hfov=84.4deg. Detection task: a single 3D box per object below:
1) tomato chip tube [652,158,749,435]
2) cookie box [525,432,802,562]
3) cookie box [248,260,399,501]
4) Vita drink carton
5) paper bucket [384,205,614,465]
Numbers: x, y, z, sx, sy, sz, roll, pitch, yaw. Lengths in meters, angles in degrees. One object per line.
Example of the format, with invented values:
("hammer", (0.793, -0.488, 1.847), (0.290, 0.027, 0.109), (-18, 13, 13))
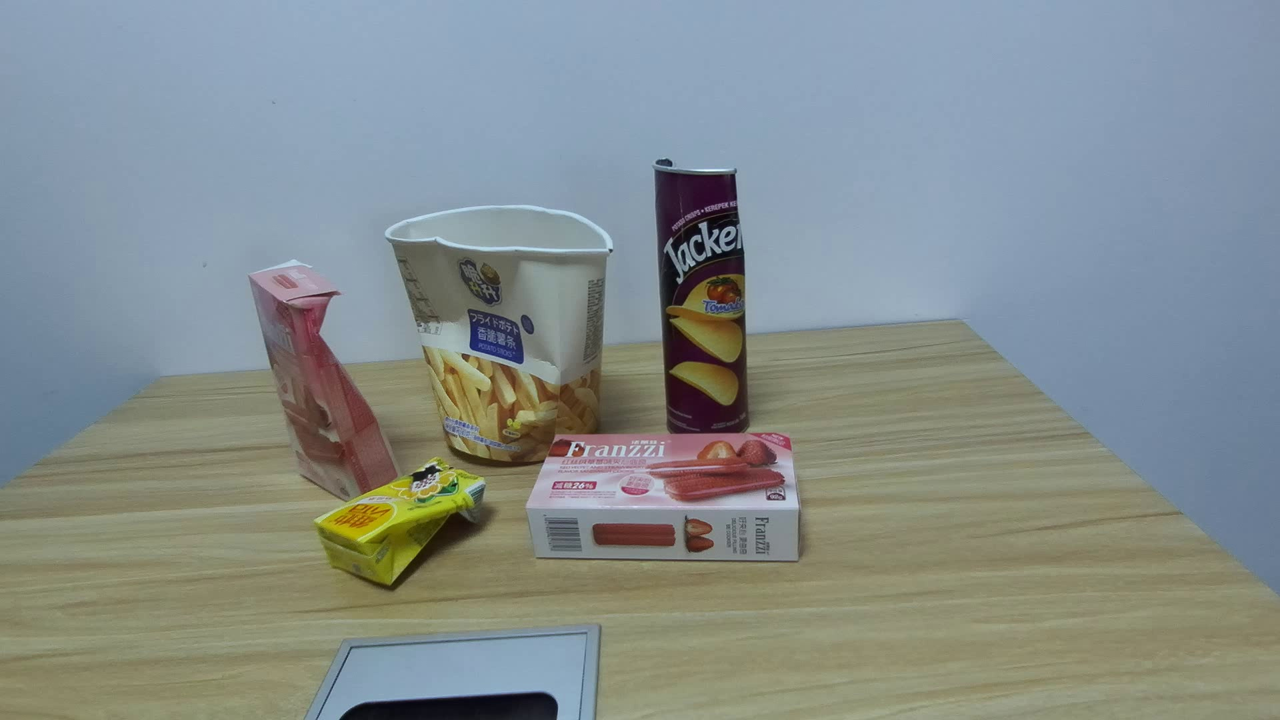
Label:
("tomato chip tube", (0.054, -0.048, 0.603), (0.076, 0.235, 0.078), (0, 22, 12))
("cookie box", (0.020, 0.098, 0.517), (0.184, 0.048, 0.096), (-2, 24, 8))
("cookie box", (-0.256, 0.021, 0.575), (0.118, 0.184, 0.056), (18, 33, 41))
("Vita drink carton", (-0.171, 0.117, 0.521), (0.086, 0.042, 0.108), (6, 22, 36))
("paper bucket", (-0.115, -0.026, 0.630), (0.218, 0.199, 0.147), (-2, 25, 7))
